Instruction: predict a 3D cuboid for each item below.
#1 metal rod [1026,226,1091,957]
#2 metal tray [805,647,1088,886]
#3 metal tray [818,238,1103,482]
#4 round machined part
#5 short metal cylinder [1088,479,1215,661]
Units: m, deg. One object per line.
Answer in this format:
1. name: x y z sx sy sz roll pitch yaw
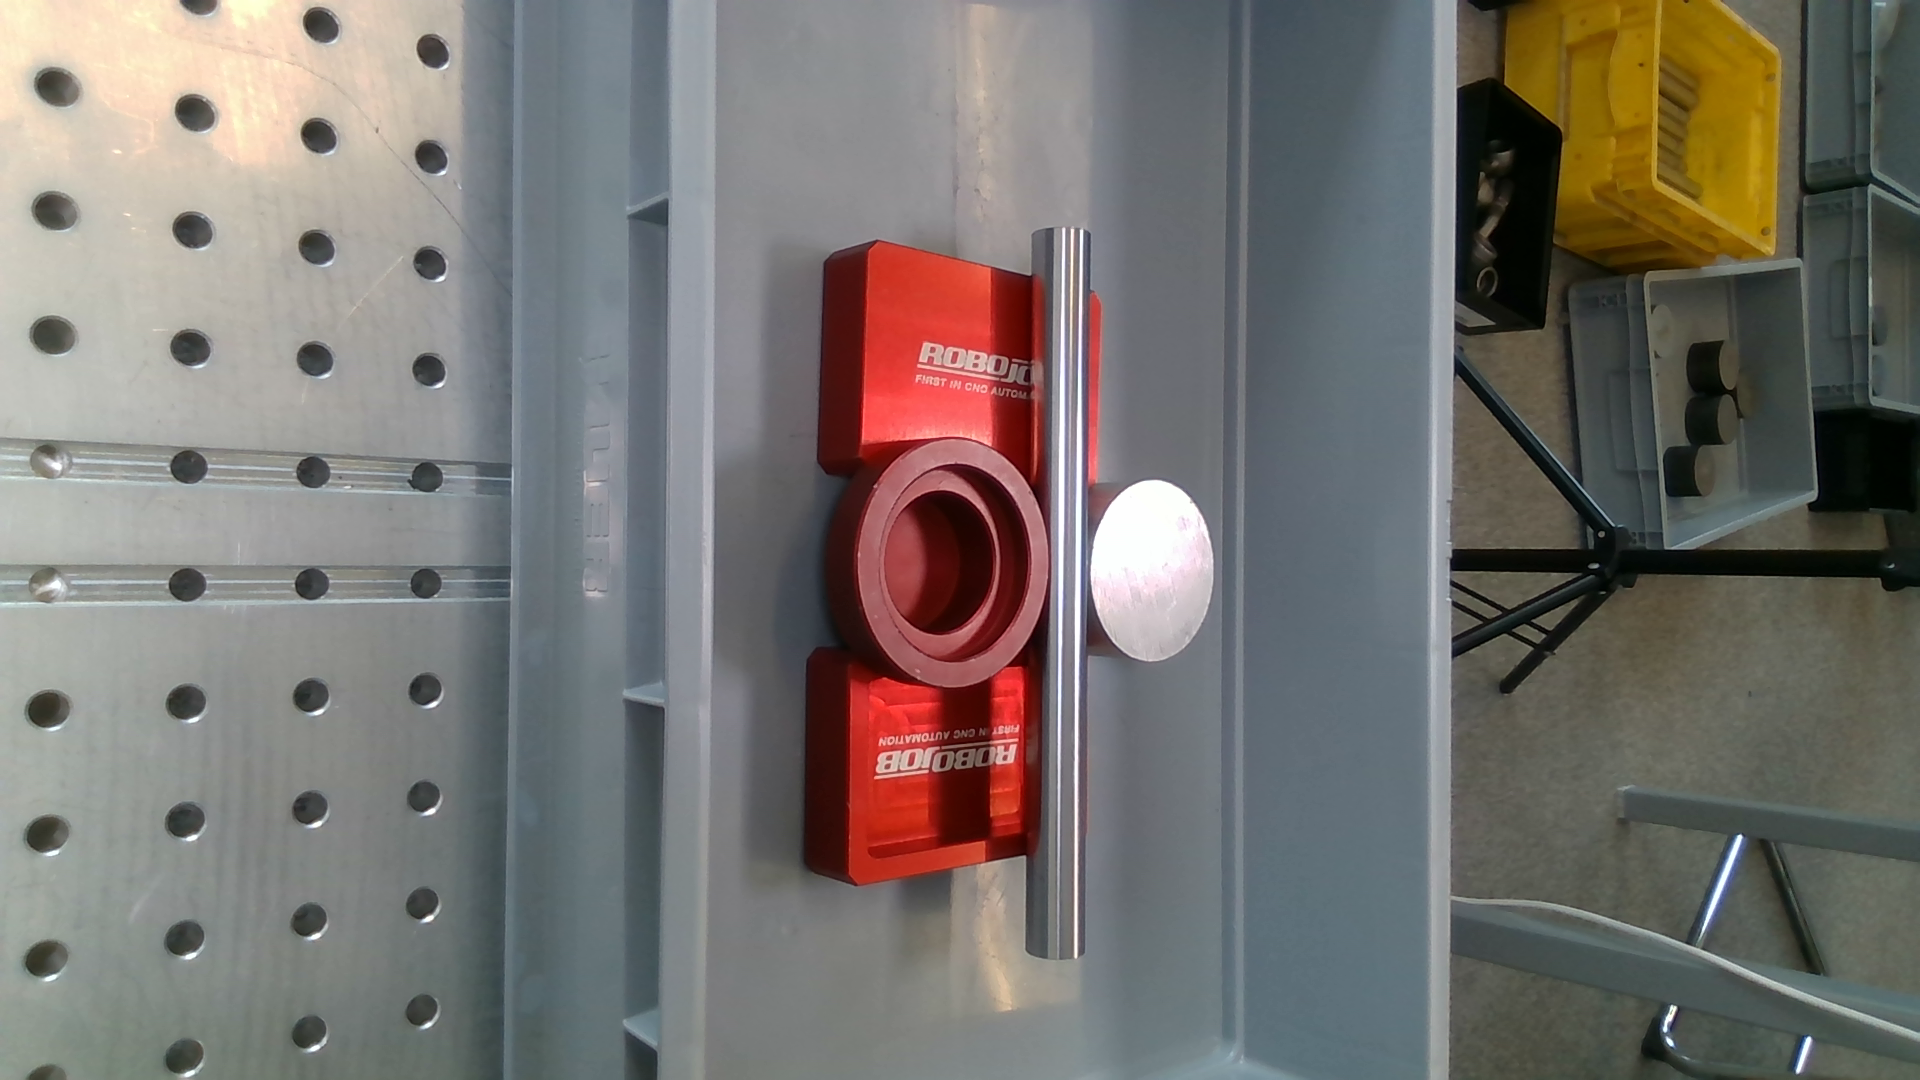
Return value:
1. metal rod: 0.041 0.021 0.577 0.025 0.025 0.300 1 90 -40
2. metal tray: -0.002 0.088 0.577 0.130 0.030 0.090 1 90 -40
3. metal tray: 0.004 -0.069 0.580 0.130 0.030 0.090 3 88 -40
4. round machined part: -0.014 0.009 0.547 0.098 0.042 0.098 0 90 -40
5. short metal cylinder: 0.070 0.013 0.624 0.080 0.050 0.080 0 90 -40
